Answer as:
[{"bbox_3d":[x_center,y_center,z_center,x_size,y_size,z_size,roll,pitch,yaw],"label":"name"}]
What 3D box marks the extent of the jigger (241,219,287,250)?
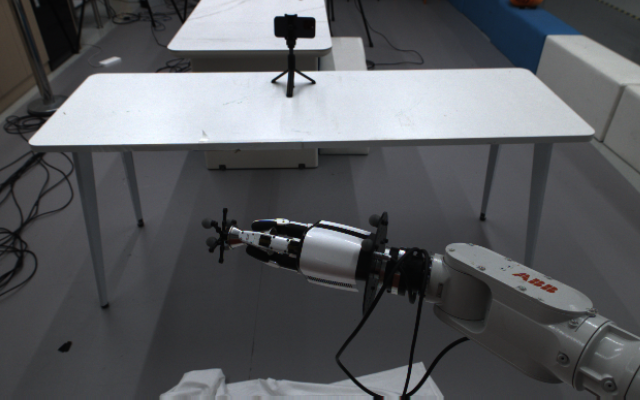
[{"bbox_3d":[-0.098,0.056,0.762,0.071,0.043,0.043,4,34,15],"label":"jigger"}]
